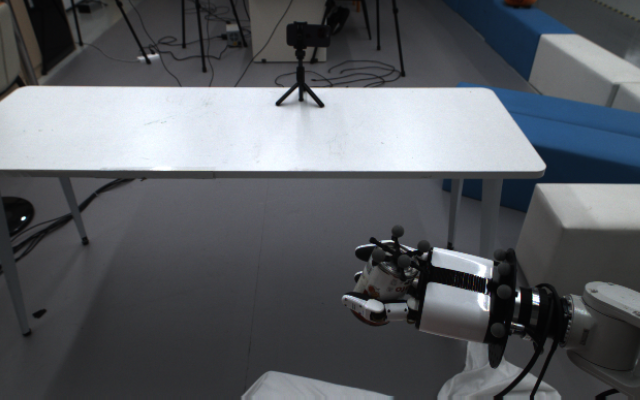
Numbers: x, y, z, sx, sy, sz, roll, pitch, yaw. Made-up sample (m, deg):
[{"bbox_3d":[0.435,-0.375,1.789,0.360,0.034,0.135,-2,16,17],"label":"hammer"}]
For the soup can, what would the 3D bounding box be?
[{"bbox_3d":[0.088,0.116,0.670,0.067,0.101,0.067,14,35,-10],"label":"soup can"}]
